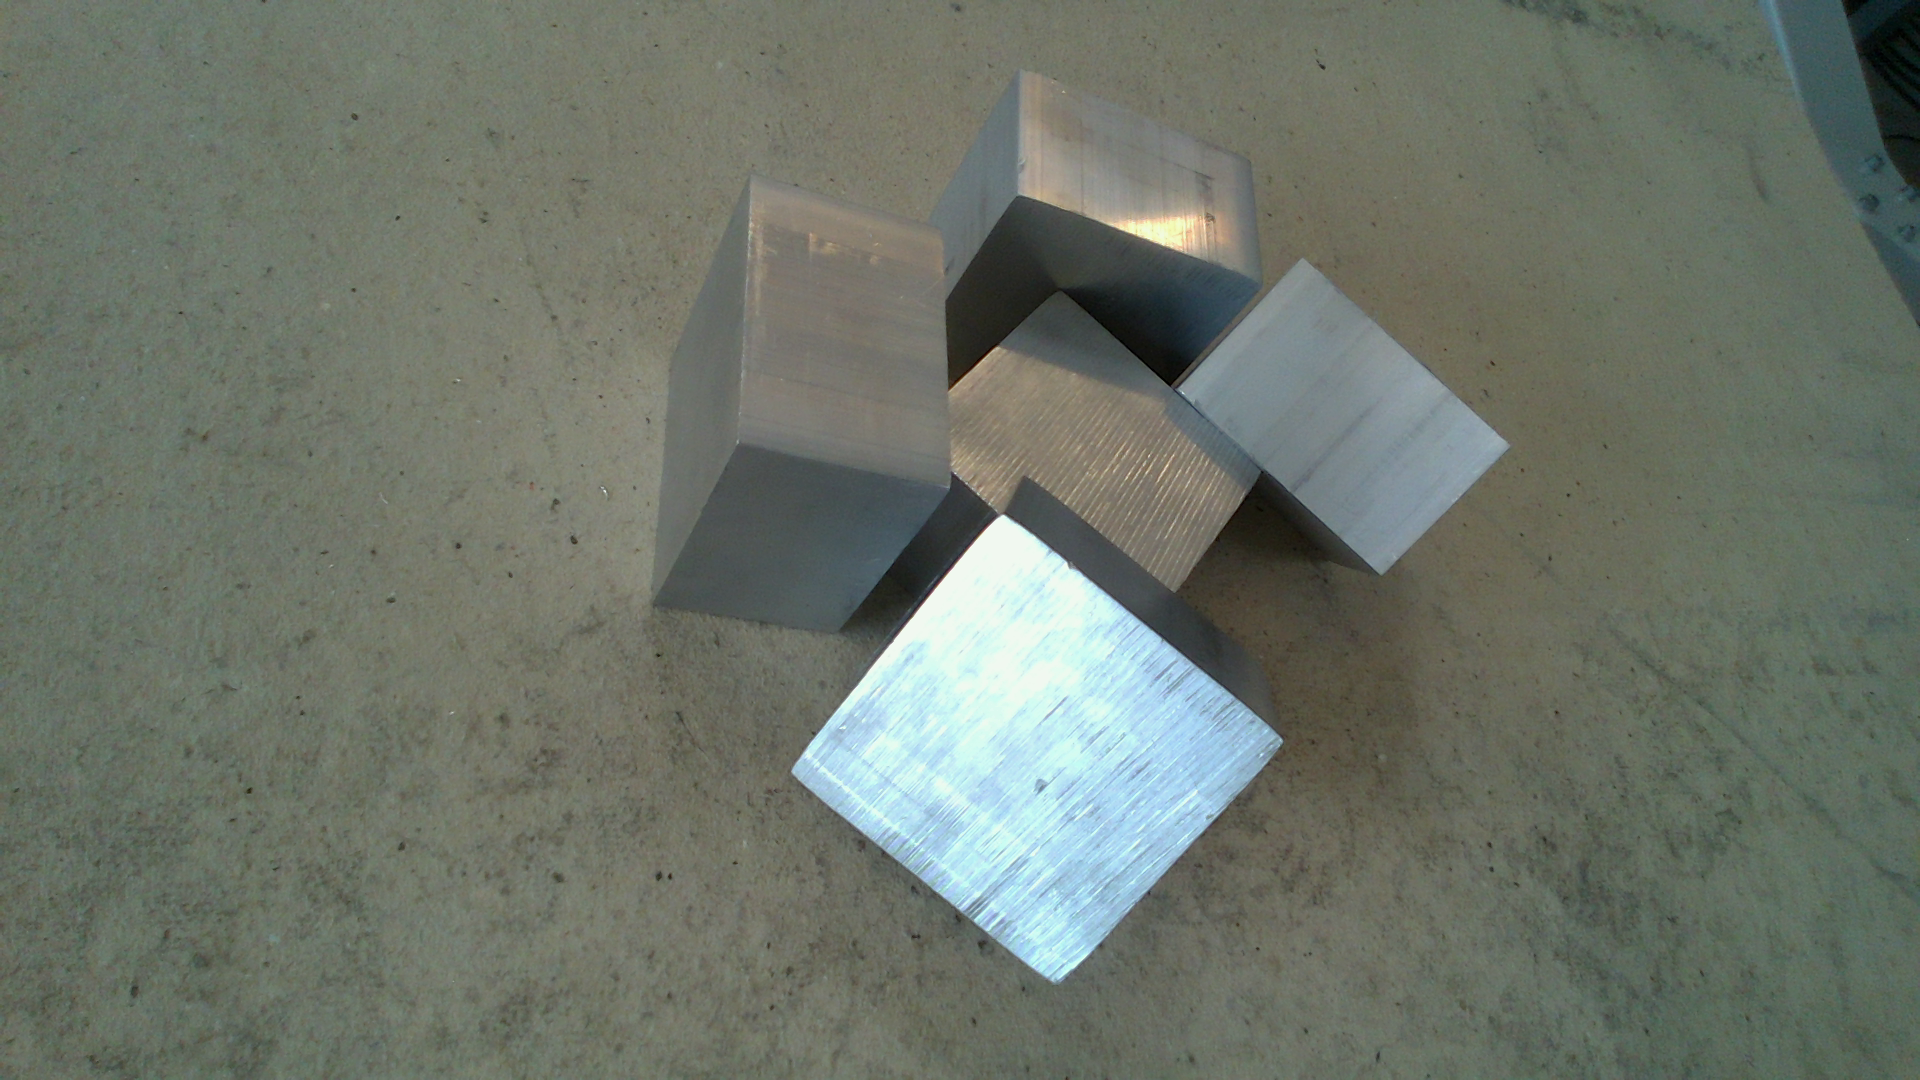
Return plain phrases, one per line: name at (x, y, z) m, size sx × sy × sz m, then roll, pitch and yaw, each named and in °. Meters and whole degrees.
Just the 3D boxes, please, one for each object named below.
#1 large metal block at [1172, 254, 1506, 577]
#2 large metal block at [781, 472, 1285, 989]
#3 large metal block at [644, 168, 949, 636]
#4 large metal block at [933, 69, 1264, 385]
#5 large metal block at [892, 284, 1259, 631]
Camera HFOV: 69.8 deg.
large metal block at (0.110, -0.037, 0.429) m, size 0.080 × 0.080 × 0.050 m, roll 43°, pitch 95°, yaw 2°
large metal block at (0.018, 0.043, 0.330) m, size 0.080 × 0.080 × 0.050 m, roll 39°, pitch 14°, yaw -2°
large metal block at (-0.043, -0.032, 0.352) m, size 0.050 × 0.080 × 0.080 m, roll 11°, pitch 57°, yaw -22°
large metal block at (0.036, -0.085, 0.427) m, size 0.080 × 0.080 × 0.050 m, roll 15°, pitch 55°, yaw -20°
large metal block at (0.027, -0.013, 0.394) m, size 0.080 × 0.050 × 0.080 m, roll 43°, pitch 51°, yaw 0°
